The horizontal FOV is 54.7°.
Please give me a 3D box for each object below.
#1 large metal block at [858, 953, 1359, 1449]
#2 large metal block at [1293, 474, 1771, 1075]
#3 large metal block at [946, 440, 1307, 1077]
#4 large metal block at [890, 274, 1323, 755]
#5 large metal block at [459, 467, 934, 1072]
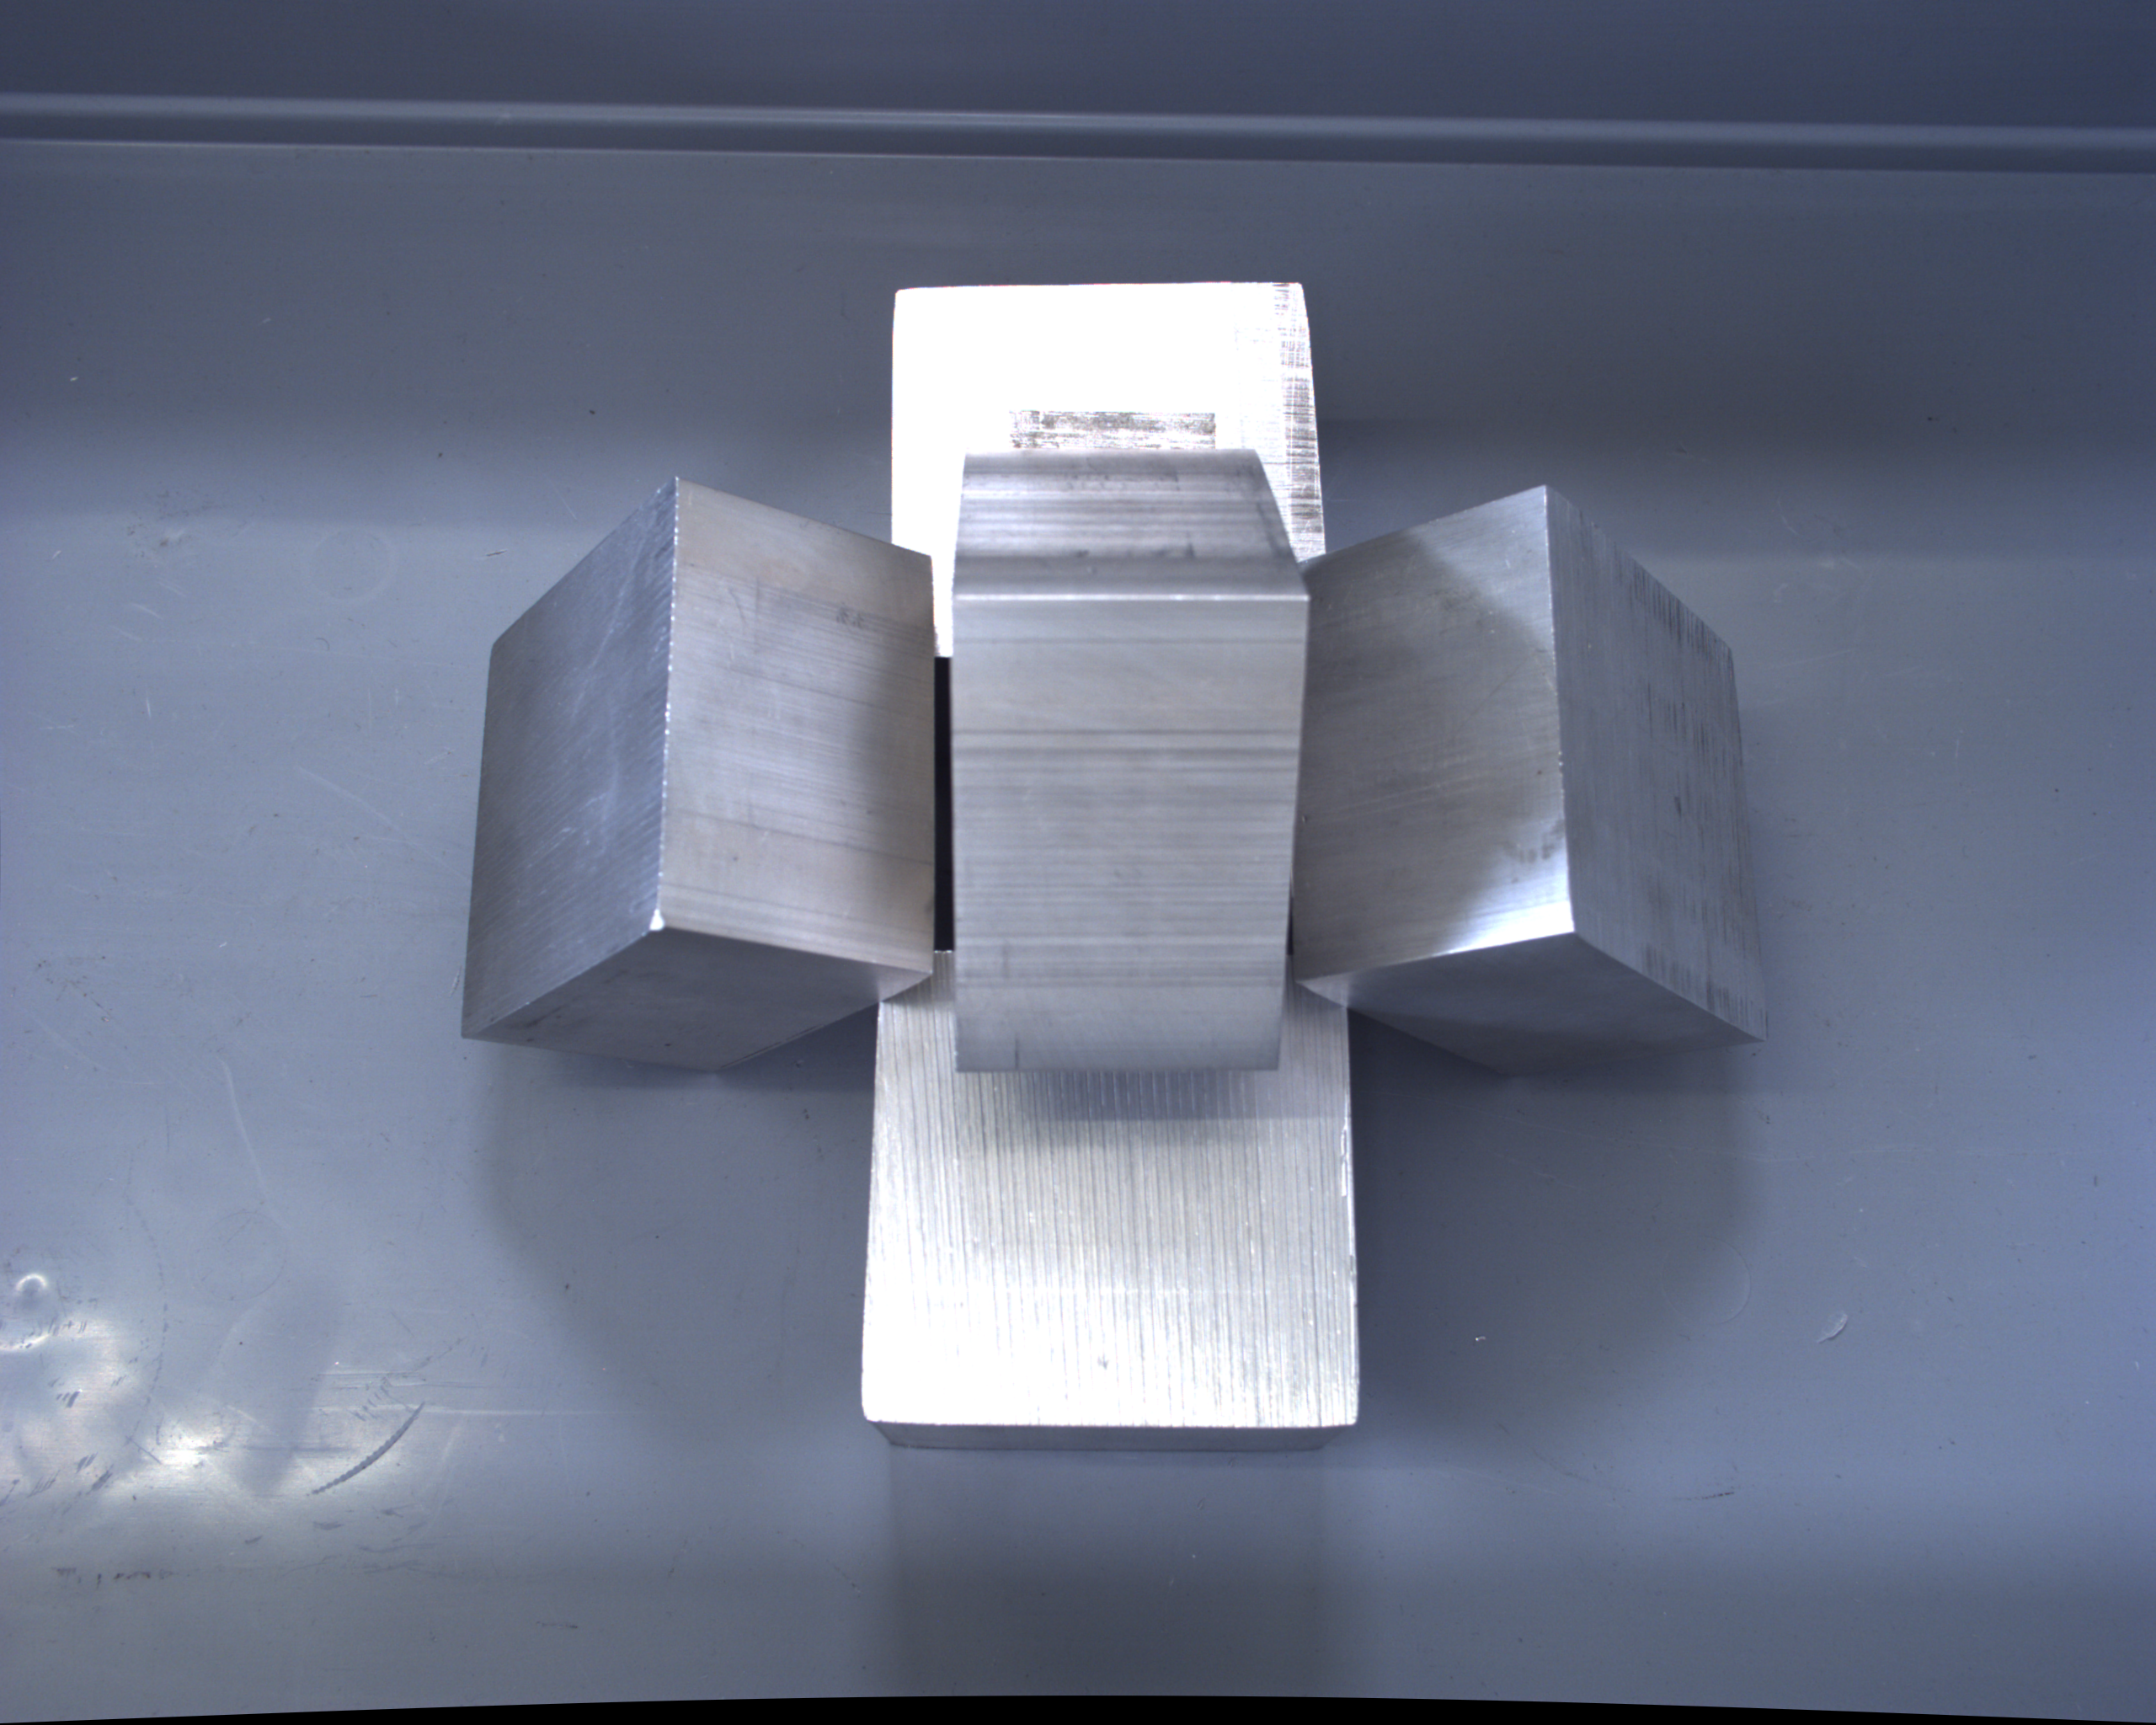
[{"bbox_3d":[0.006,0.062,0.372,0.080,0.050,0.080,1,70,0],"label":"large metal block"},{"bbox_3d":[0.081,-0.011,0.376,0.050,0.080,0.080,-14,66,36],"label":"large metal block"},{"bbox_3d":[0.006,-0.020,0.344,0.050,0.079,0.080,0,26,-1],"label":"large metal block"},{"bbox_3d":[0.005,-0.068,0.417,0.081,0.050,0.080,-1,70,-1],"label":"large metal block"},{"bbox_3d":[-0.069,-0.012,0.375,0.050,0.080,0.080,13,66,-35],"label":"large metal block"}]
